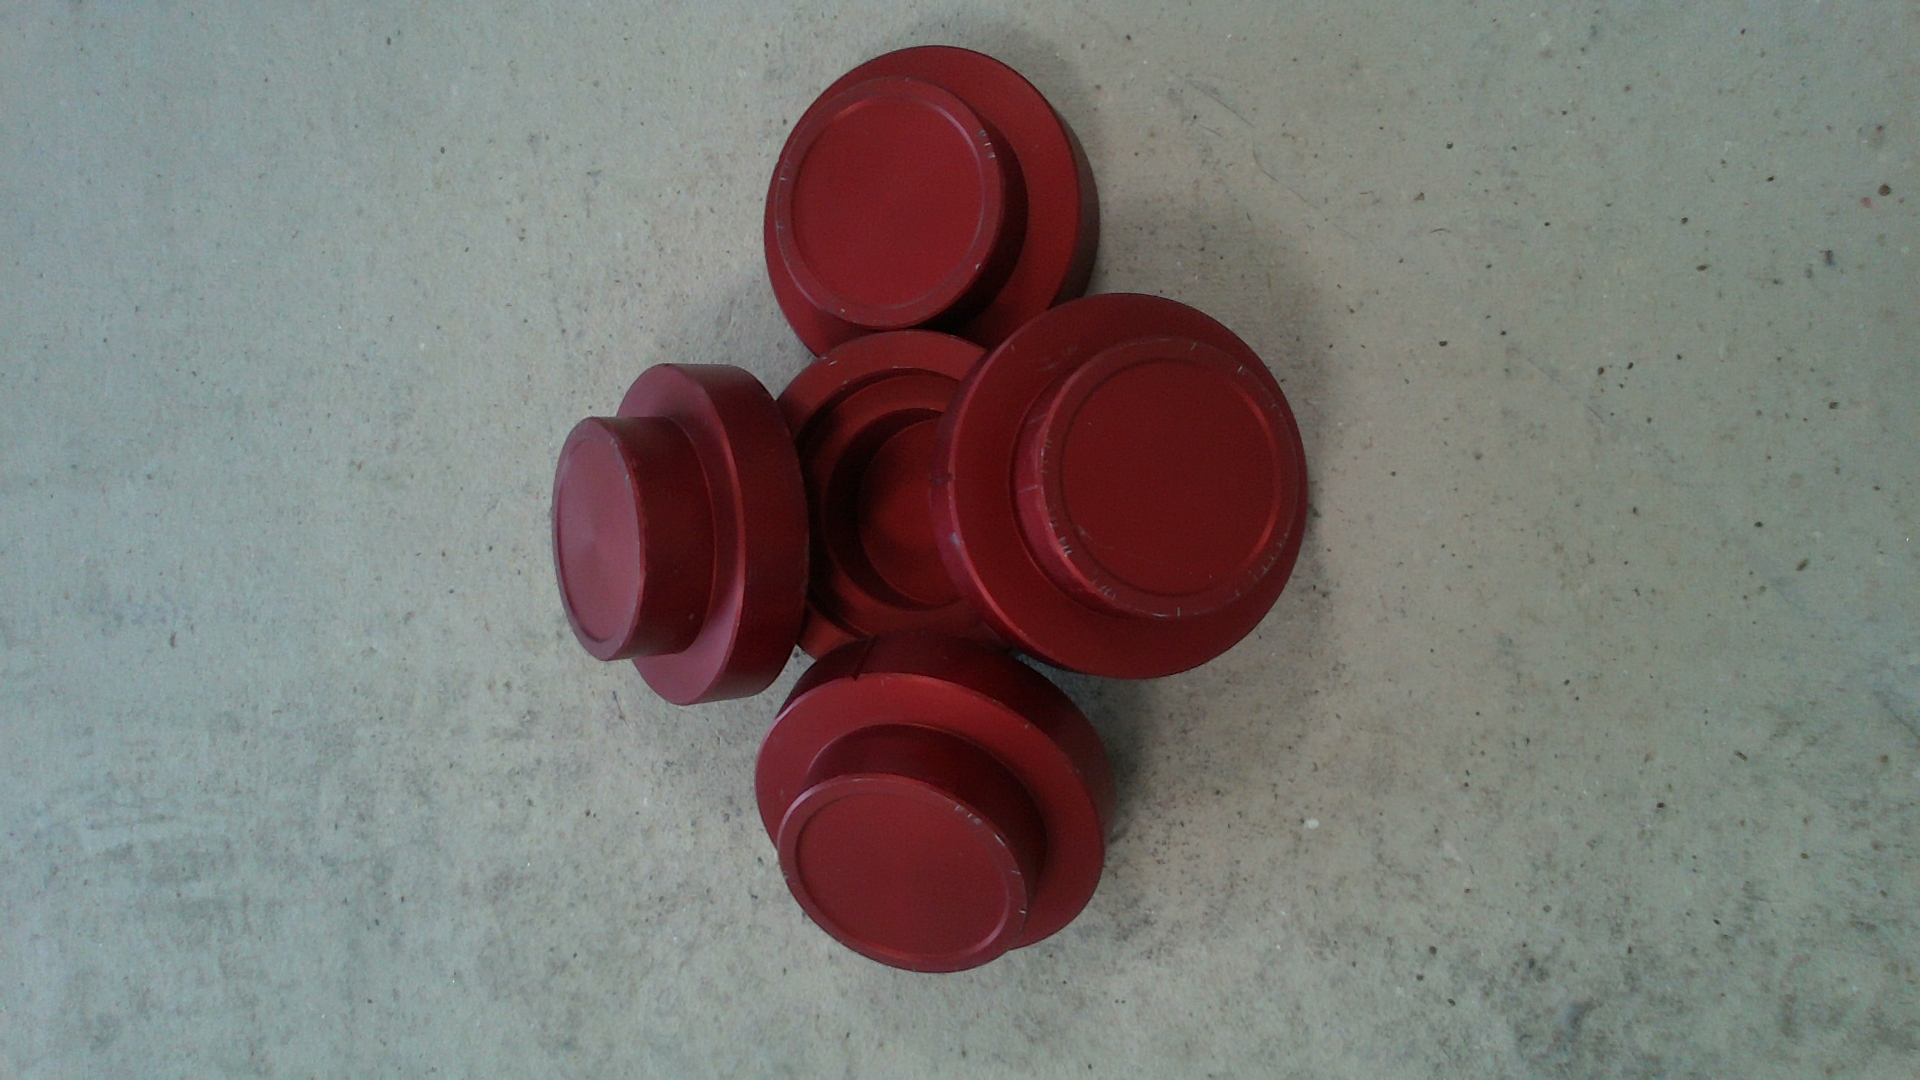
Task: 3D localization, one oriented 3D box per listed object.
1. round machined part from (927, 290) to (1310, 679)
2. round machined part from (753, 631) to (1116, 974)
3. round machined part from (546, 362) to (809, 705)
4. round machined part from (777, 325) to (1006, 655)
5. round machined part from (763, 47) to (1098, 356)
[{"bbox_3d":[0.044,-0.014,0.344,0.098,0.042,0.098,1,87,-16],"label":"round machined part"},{"bbox_3d":[-0.010,0.076,0.368,0.098,0.042,0.098,8,122,13],"label":"round machined part"},{"bbox_3d":[-0.086,-0.001,0.392,0.098,0.042,0.098,8,101,53],"label":"round machined part"},{"bbox_3d":[-0.009,-0.009,0.390,0.098,0.042,0.098,0,89,22],"label":"round machined part"},{"bbox_3d":[-0.013,-0.092,0.391,0.098,0.042,0.098,-1,88,20],"label":"round machined part"}]
